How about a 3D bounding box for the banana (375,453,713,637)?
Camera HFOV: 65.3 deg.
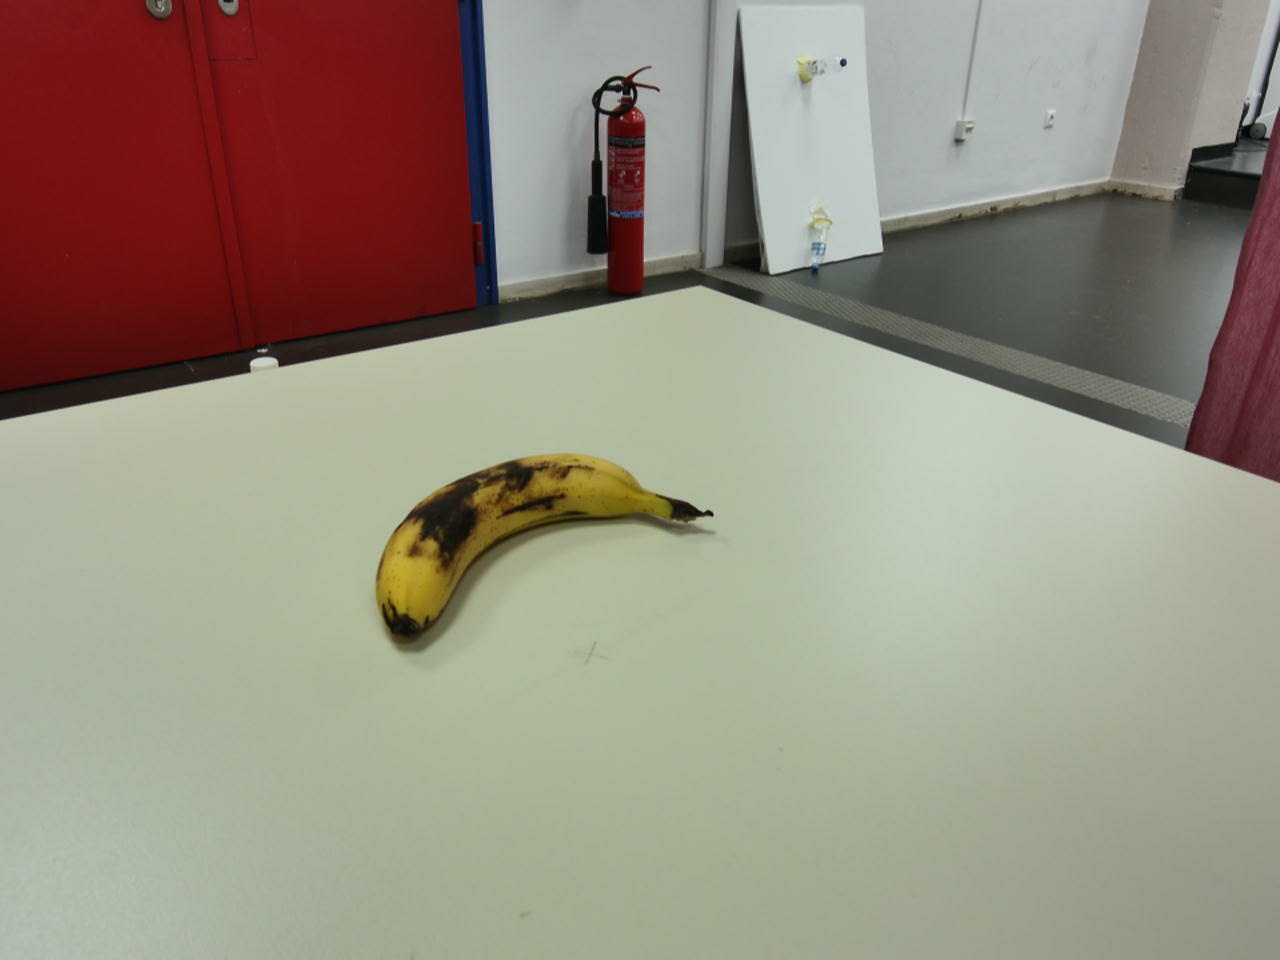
[{"bbox_3d":[-0.063,0.022,0.518,0.187,0.039,0.094,-18,31,-35],"label":"banana"}]
